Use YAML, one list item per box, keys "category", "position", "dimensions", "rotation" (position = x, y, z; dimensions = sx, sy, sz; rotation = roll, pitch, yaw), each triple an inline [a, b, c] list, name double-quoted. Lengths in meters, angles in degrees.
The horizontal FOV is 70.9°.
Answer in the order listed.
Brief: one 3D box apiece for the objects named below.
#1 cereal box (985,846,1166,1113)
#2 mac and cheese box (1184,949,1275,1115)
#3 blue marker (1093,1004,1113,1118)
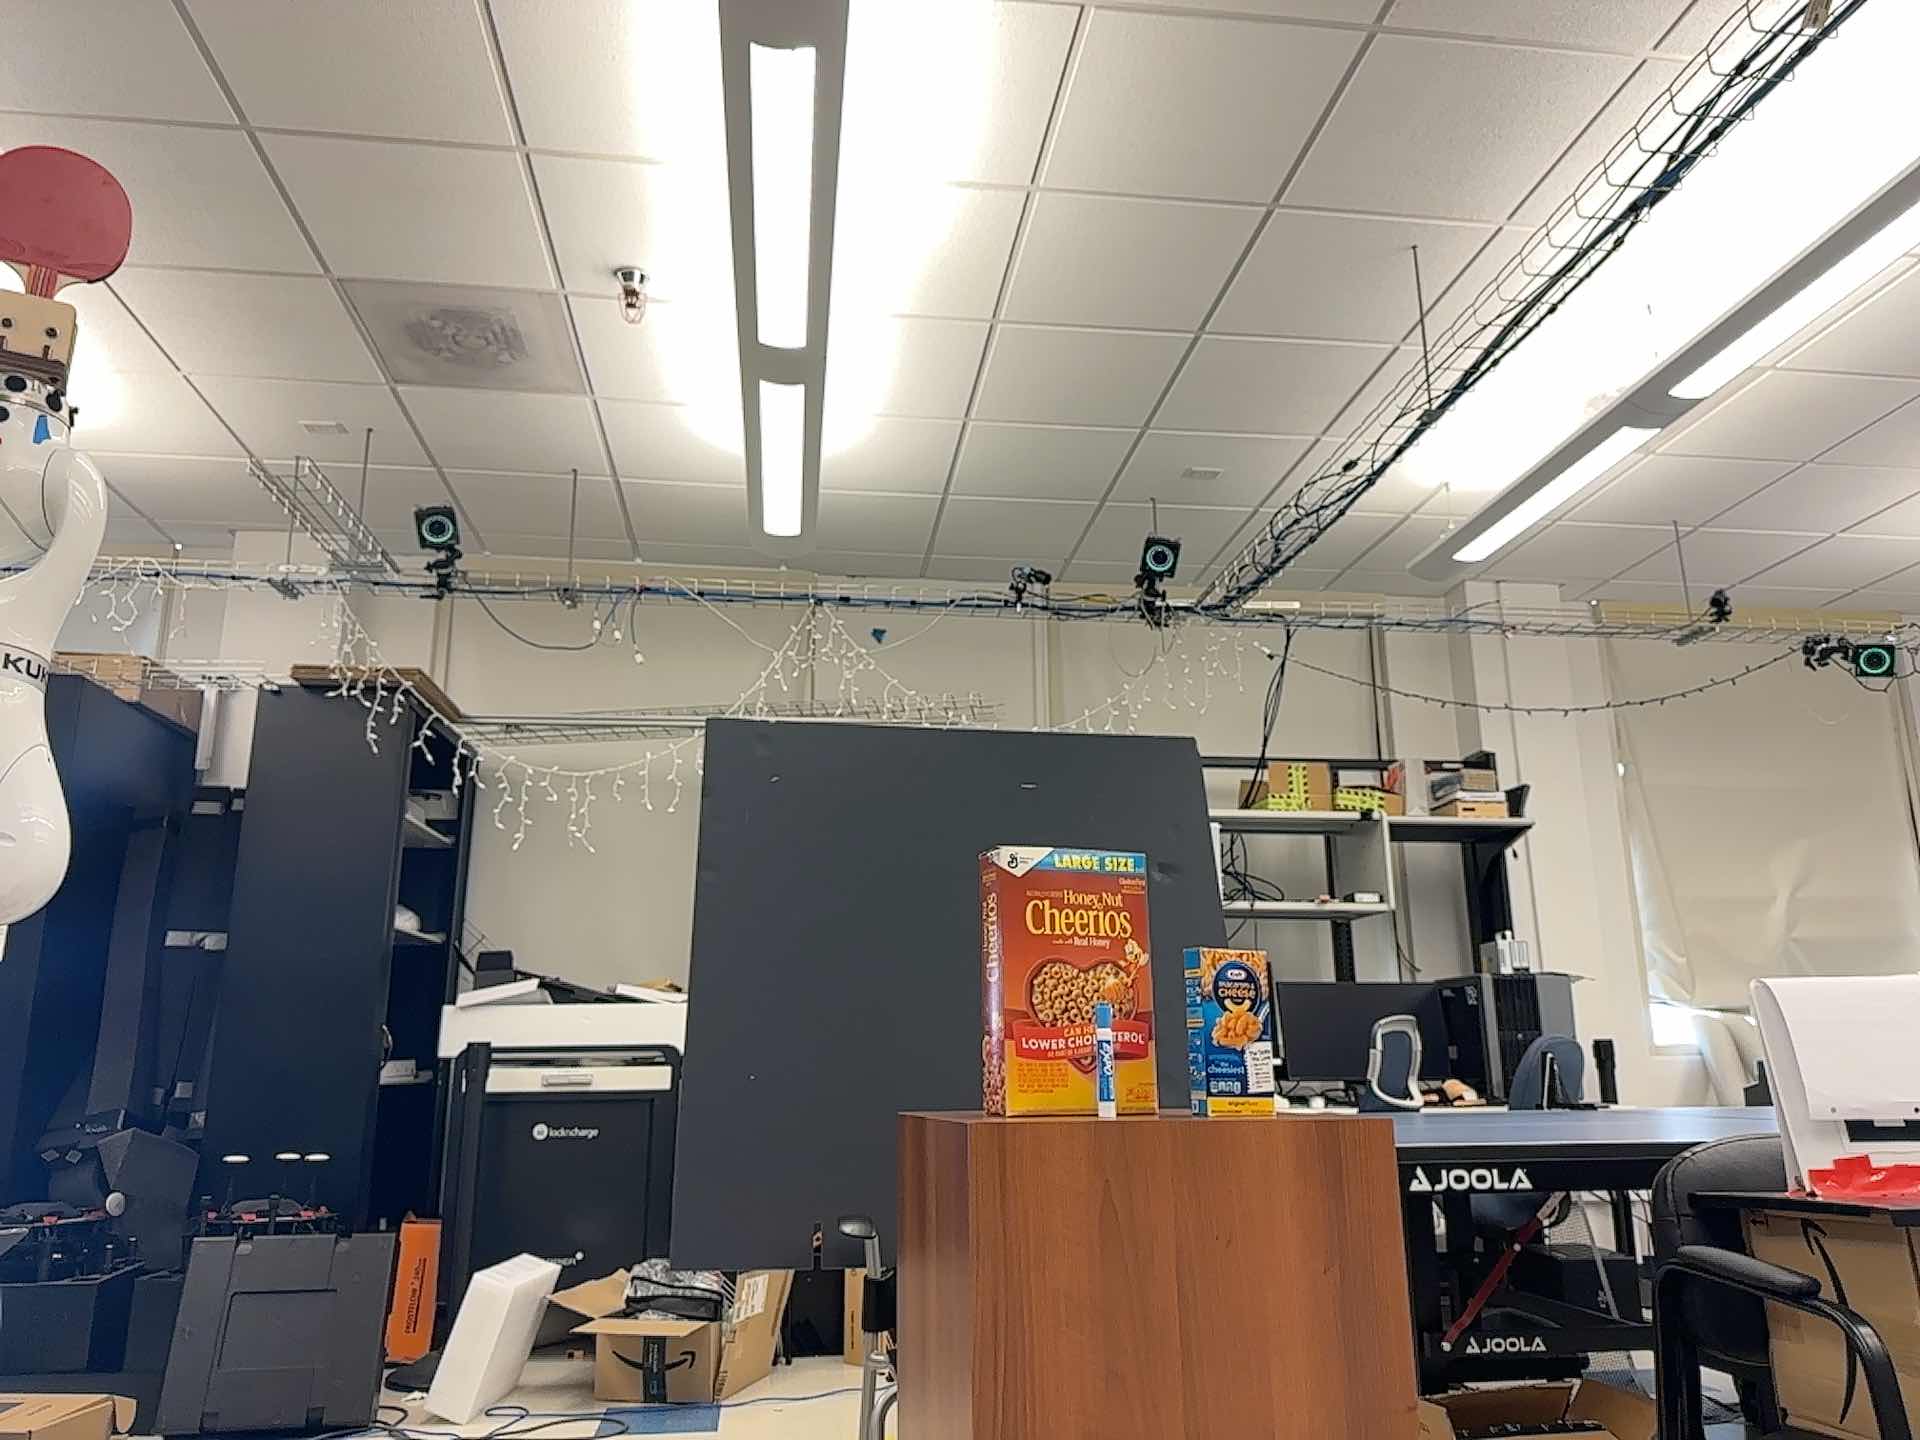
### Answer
- category: "cereal box"
  position: [0.134, 0.306, 1.601]
  dimensions: [0.195, 0.297, 0.065]
  rotation: [6, -15, -19]
- category: "mac and cheese box"
  position: [0.310, 0.359, 1.555]
  dimensions: [0.088, 0.181, 0.035]
  rotation: [4, -15, -13]
- category: "blue marker"
  position: [0.156, 0.373, 1.483]
  dimensions: [0.020, 0.121, 0.020]
  rotation: [0, -13, 0]
